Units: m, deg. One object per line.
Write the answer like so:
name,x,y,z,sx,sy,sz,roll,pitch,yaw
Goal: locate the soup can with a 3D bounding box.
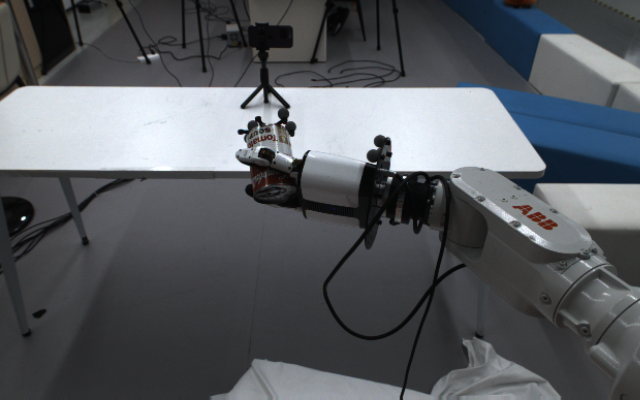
soup can,-0.071,-0.051,0.720,0.067,0.067,0.101,-6,67,-12
